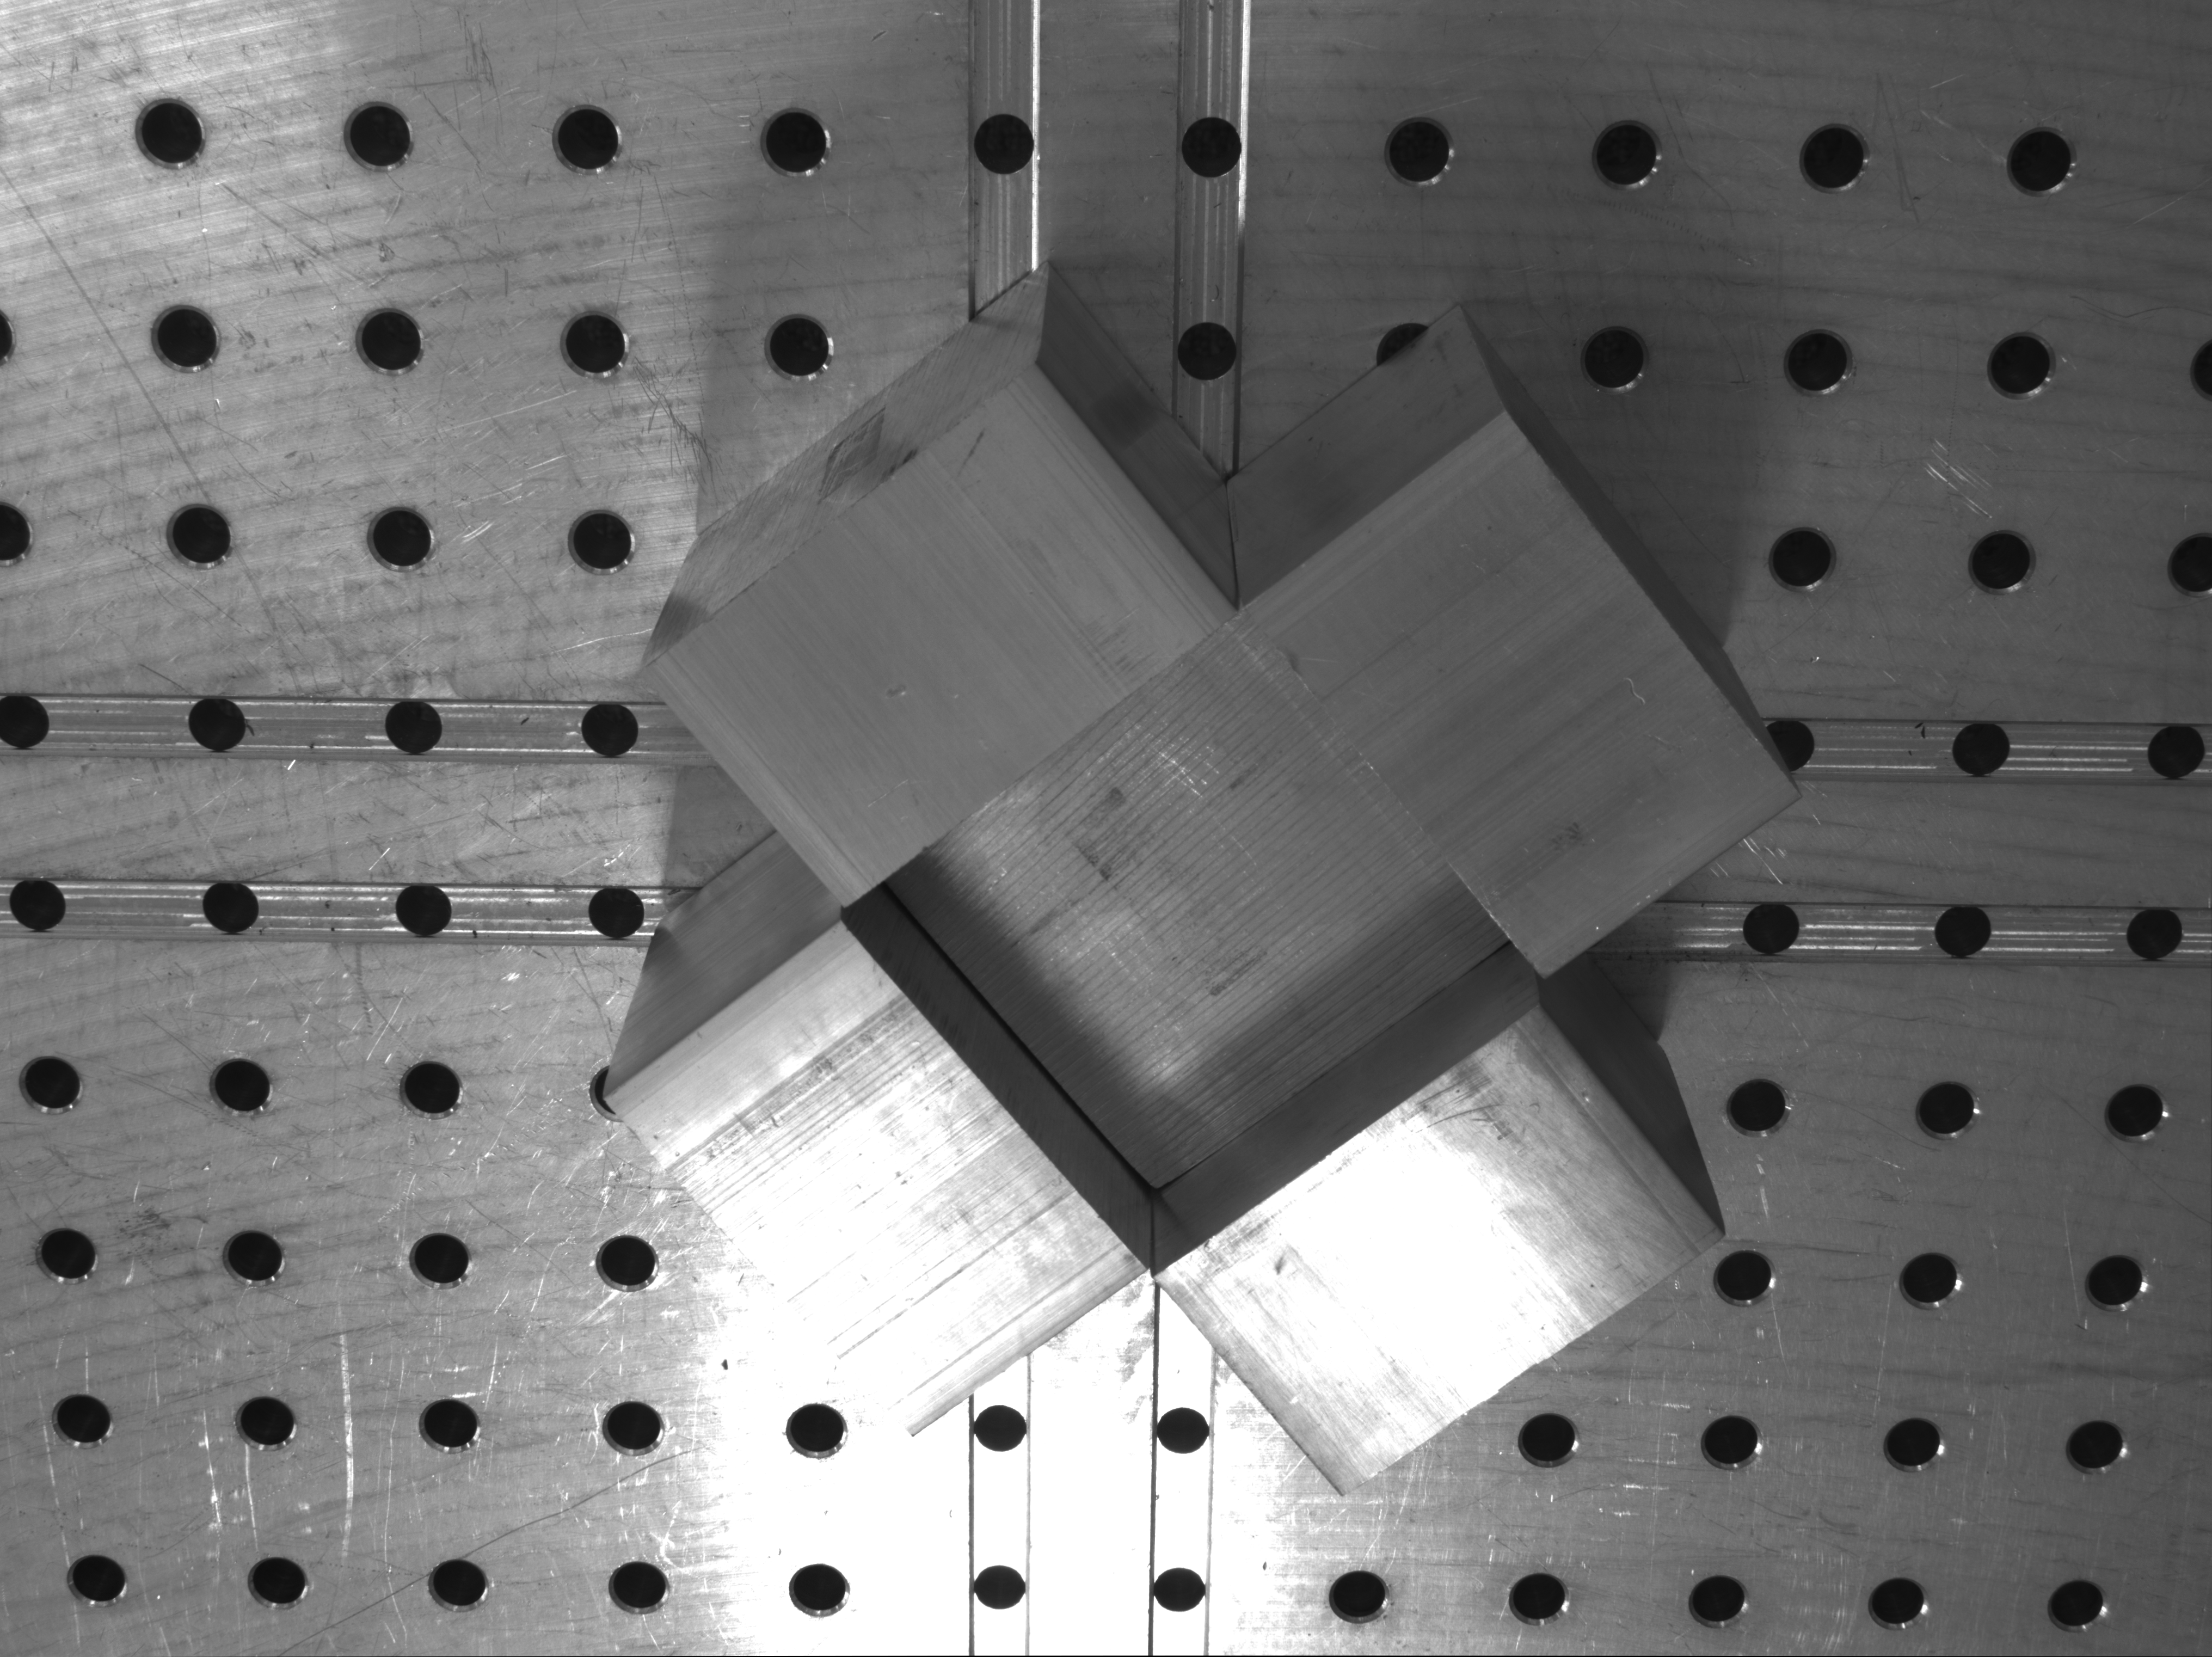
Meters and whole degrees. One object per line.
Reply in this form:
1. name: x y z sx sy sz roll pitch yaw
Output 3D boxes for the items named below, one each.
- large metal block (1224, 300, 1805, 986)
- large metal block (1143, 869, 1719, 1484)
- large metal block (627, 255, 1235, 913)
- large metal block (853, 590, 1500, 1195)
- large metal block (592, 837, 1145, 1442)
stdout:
1. large metal block: 0.065 -0.033 0.606 0.050 0.080 0.080 -37 106 12
2. large metal block: 0.053 0.055 0.639 0.080 0.080 0.050 -35 106 12
3. large metal block: -0.027 -0.042 0.602 0.080 0.080 0.050 -37 106 12
4. large metal block: 0.014 0.002 0.633 0.080 0.050 0.080 -36 105 14
5. large metal block: -0.038 0.045 0.633 0.050 0.080 0.080 -37 106 12
